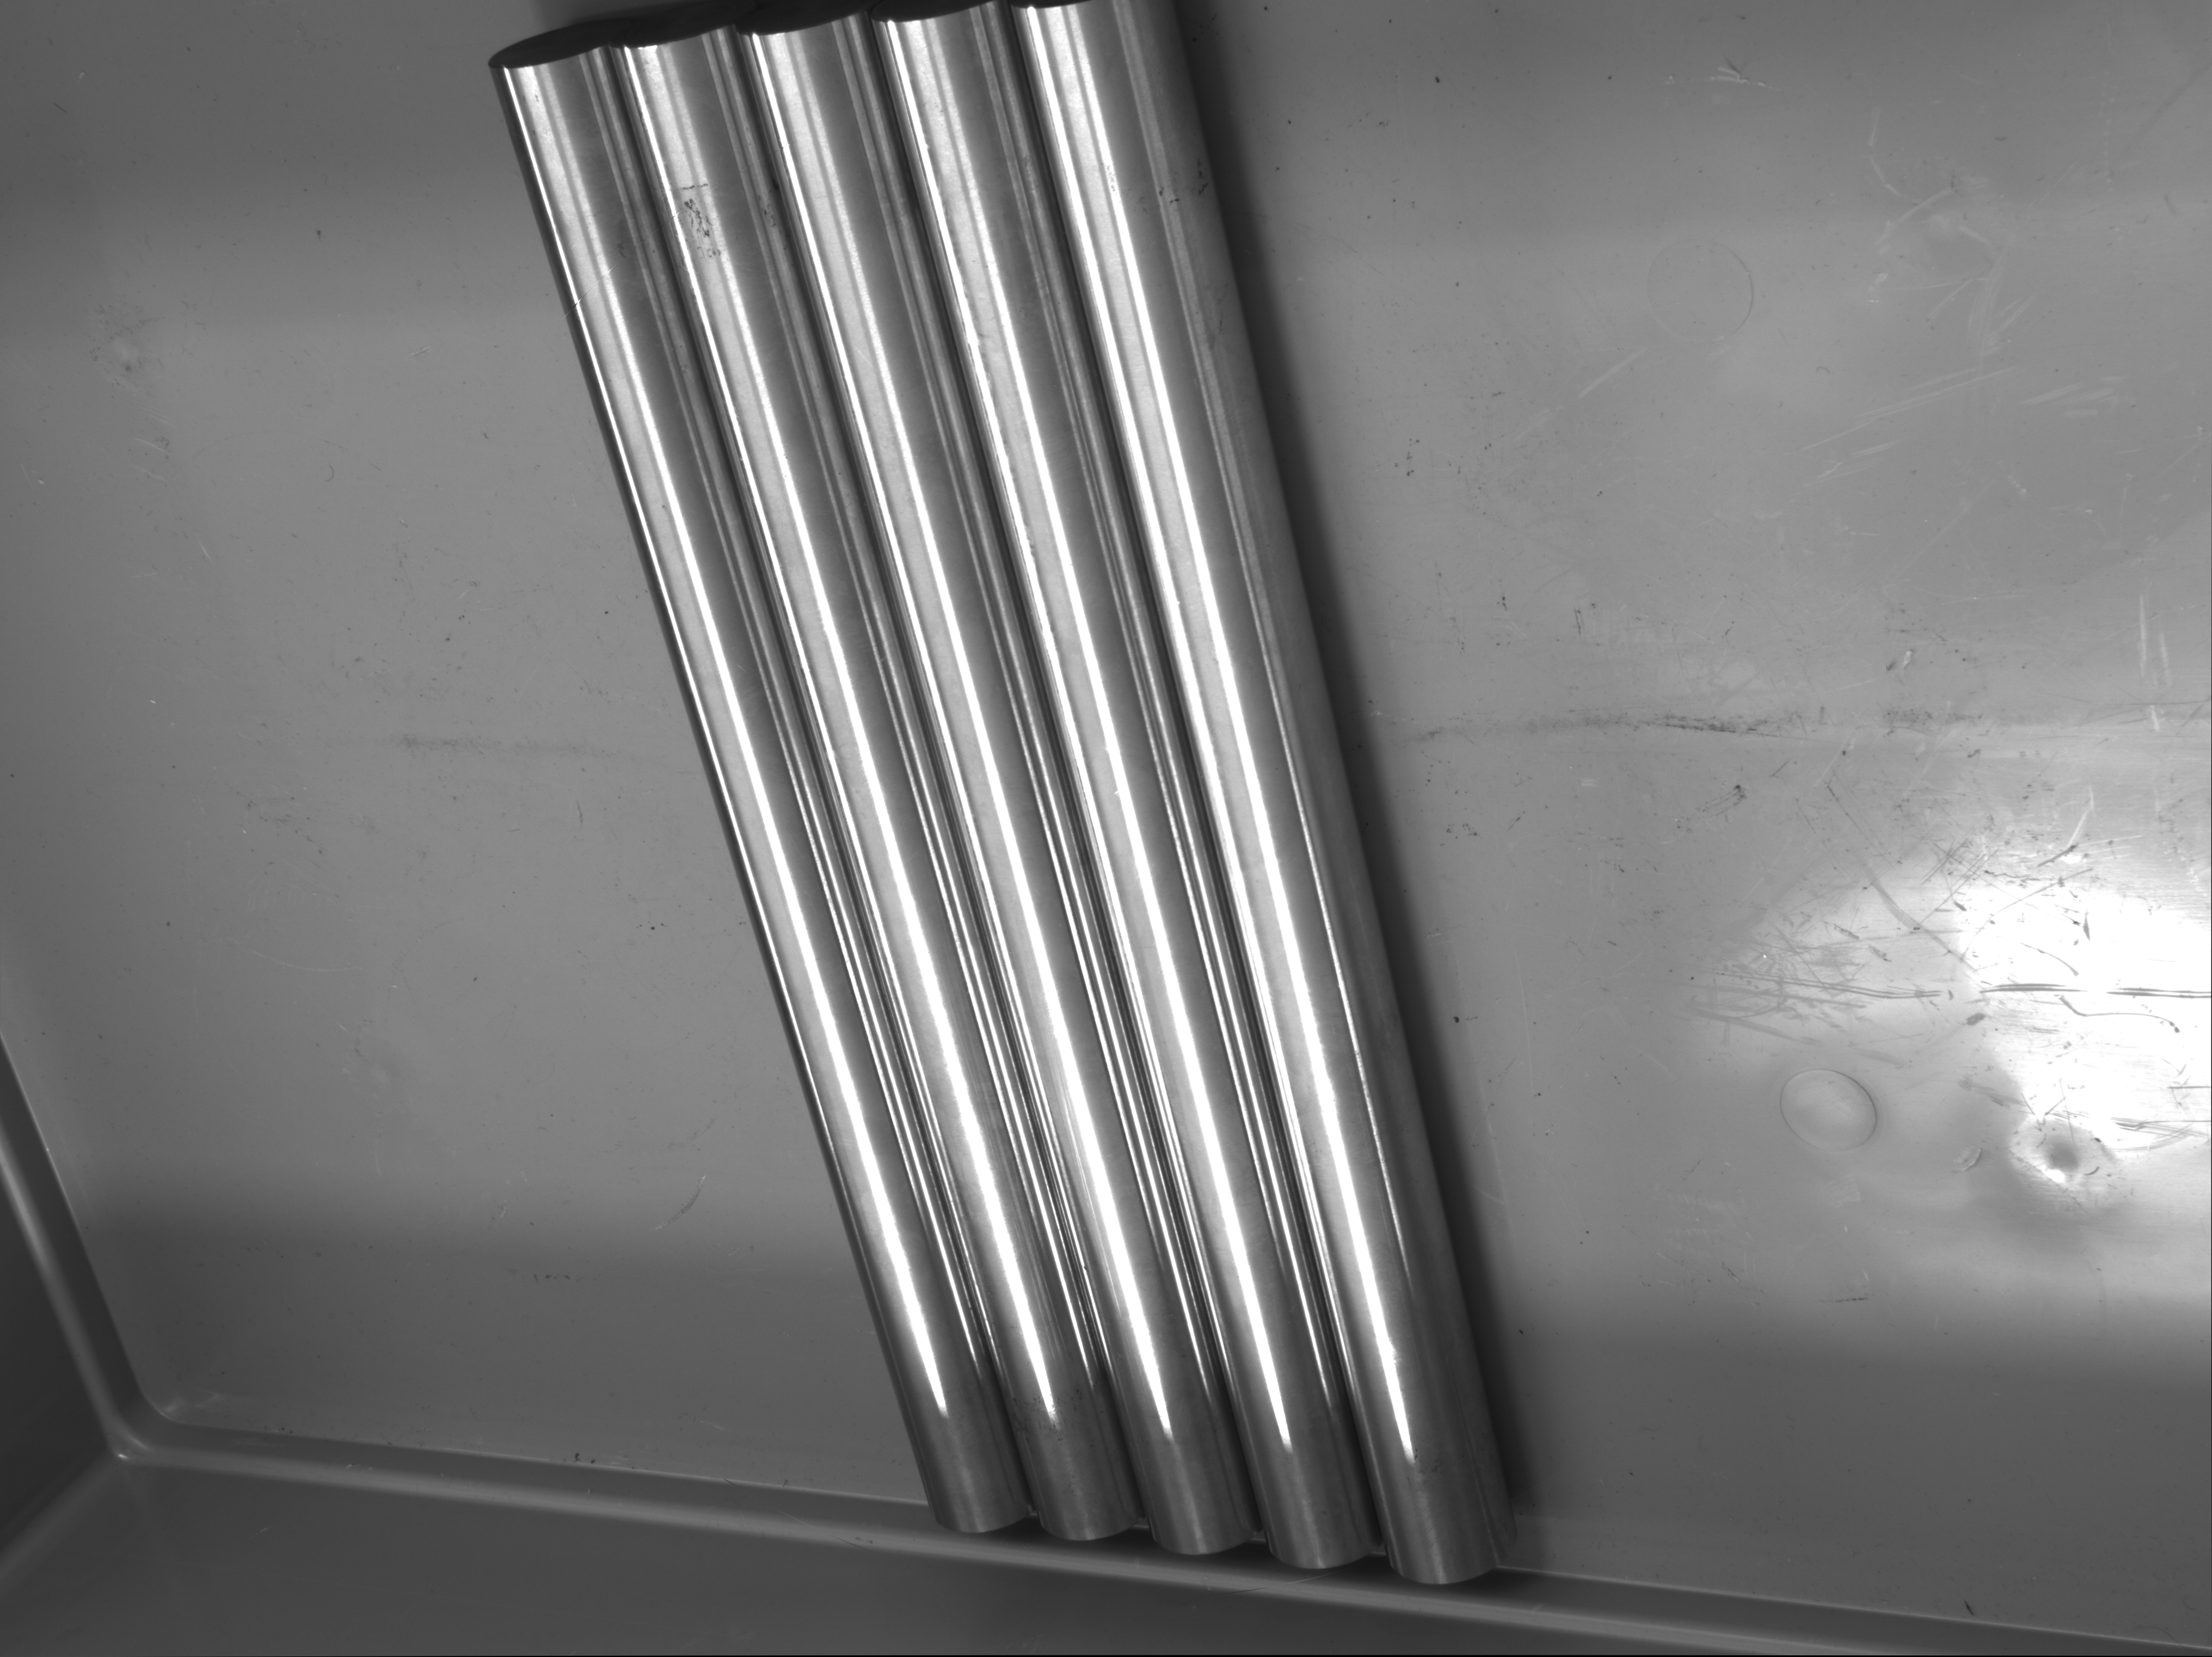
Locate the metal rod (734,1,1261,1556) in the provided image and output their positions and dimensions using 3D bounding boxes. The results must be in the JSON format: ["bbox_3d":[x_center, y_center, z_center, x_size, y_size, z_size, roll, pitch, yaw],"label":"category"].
[{"bbox_3d":[-0.013,0.001,0.649,0.025,0.025,0.300,0,118,28],"label":"metal rod"}]

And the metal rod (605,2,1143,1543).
[{"bbox_3d":[-0.036,0.001,0.661,0.025,0.025,0.300,0,118,28],"label":"metal rod"}]

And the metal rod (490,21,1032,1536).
[{"bbox_3d":[-0.057,0.002,0.673,0.025,0.025,0.300,0,118,28],"label":"metal rod"}]

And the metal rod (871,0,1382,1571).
[{"bbox_3d":[0.009,0.002,0.637,0.025,0.025,0.300,0,118,28],"label":"metal rod"}]

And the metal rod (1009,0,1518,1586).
[{"bbox_3d":[0.031,0.002,0.626,0.025,0.025,0.300,0,118,28],"label":"metal rod"}]
